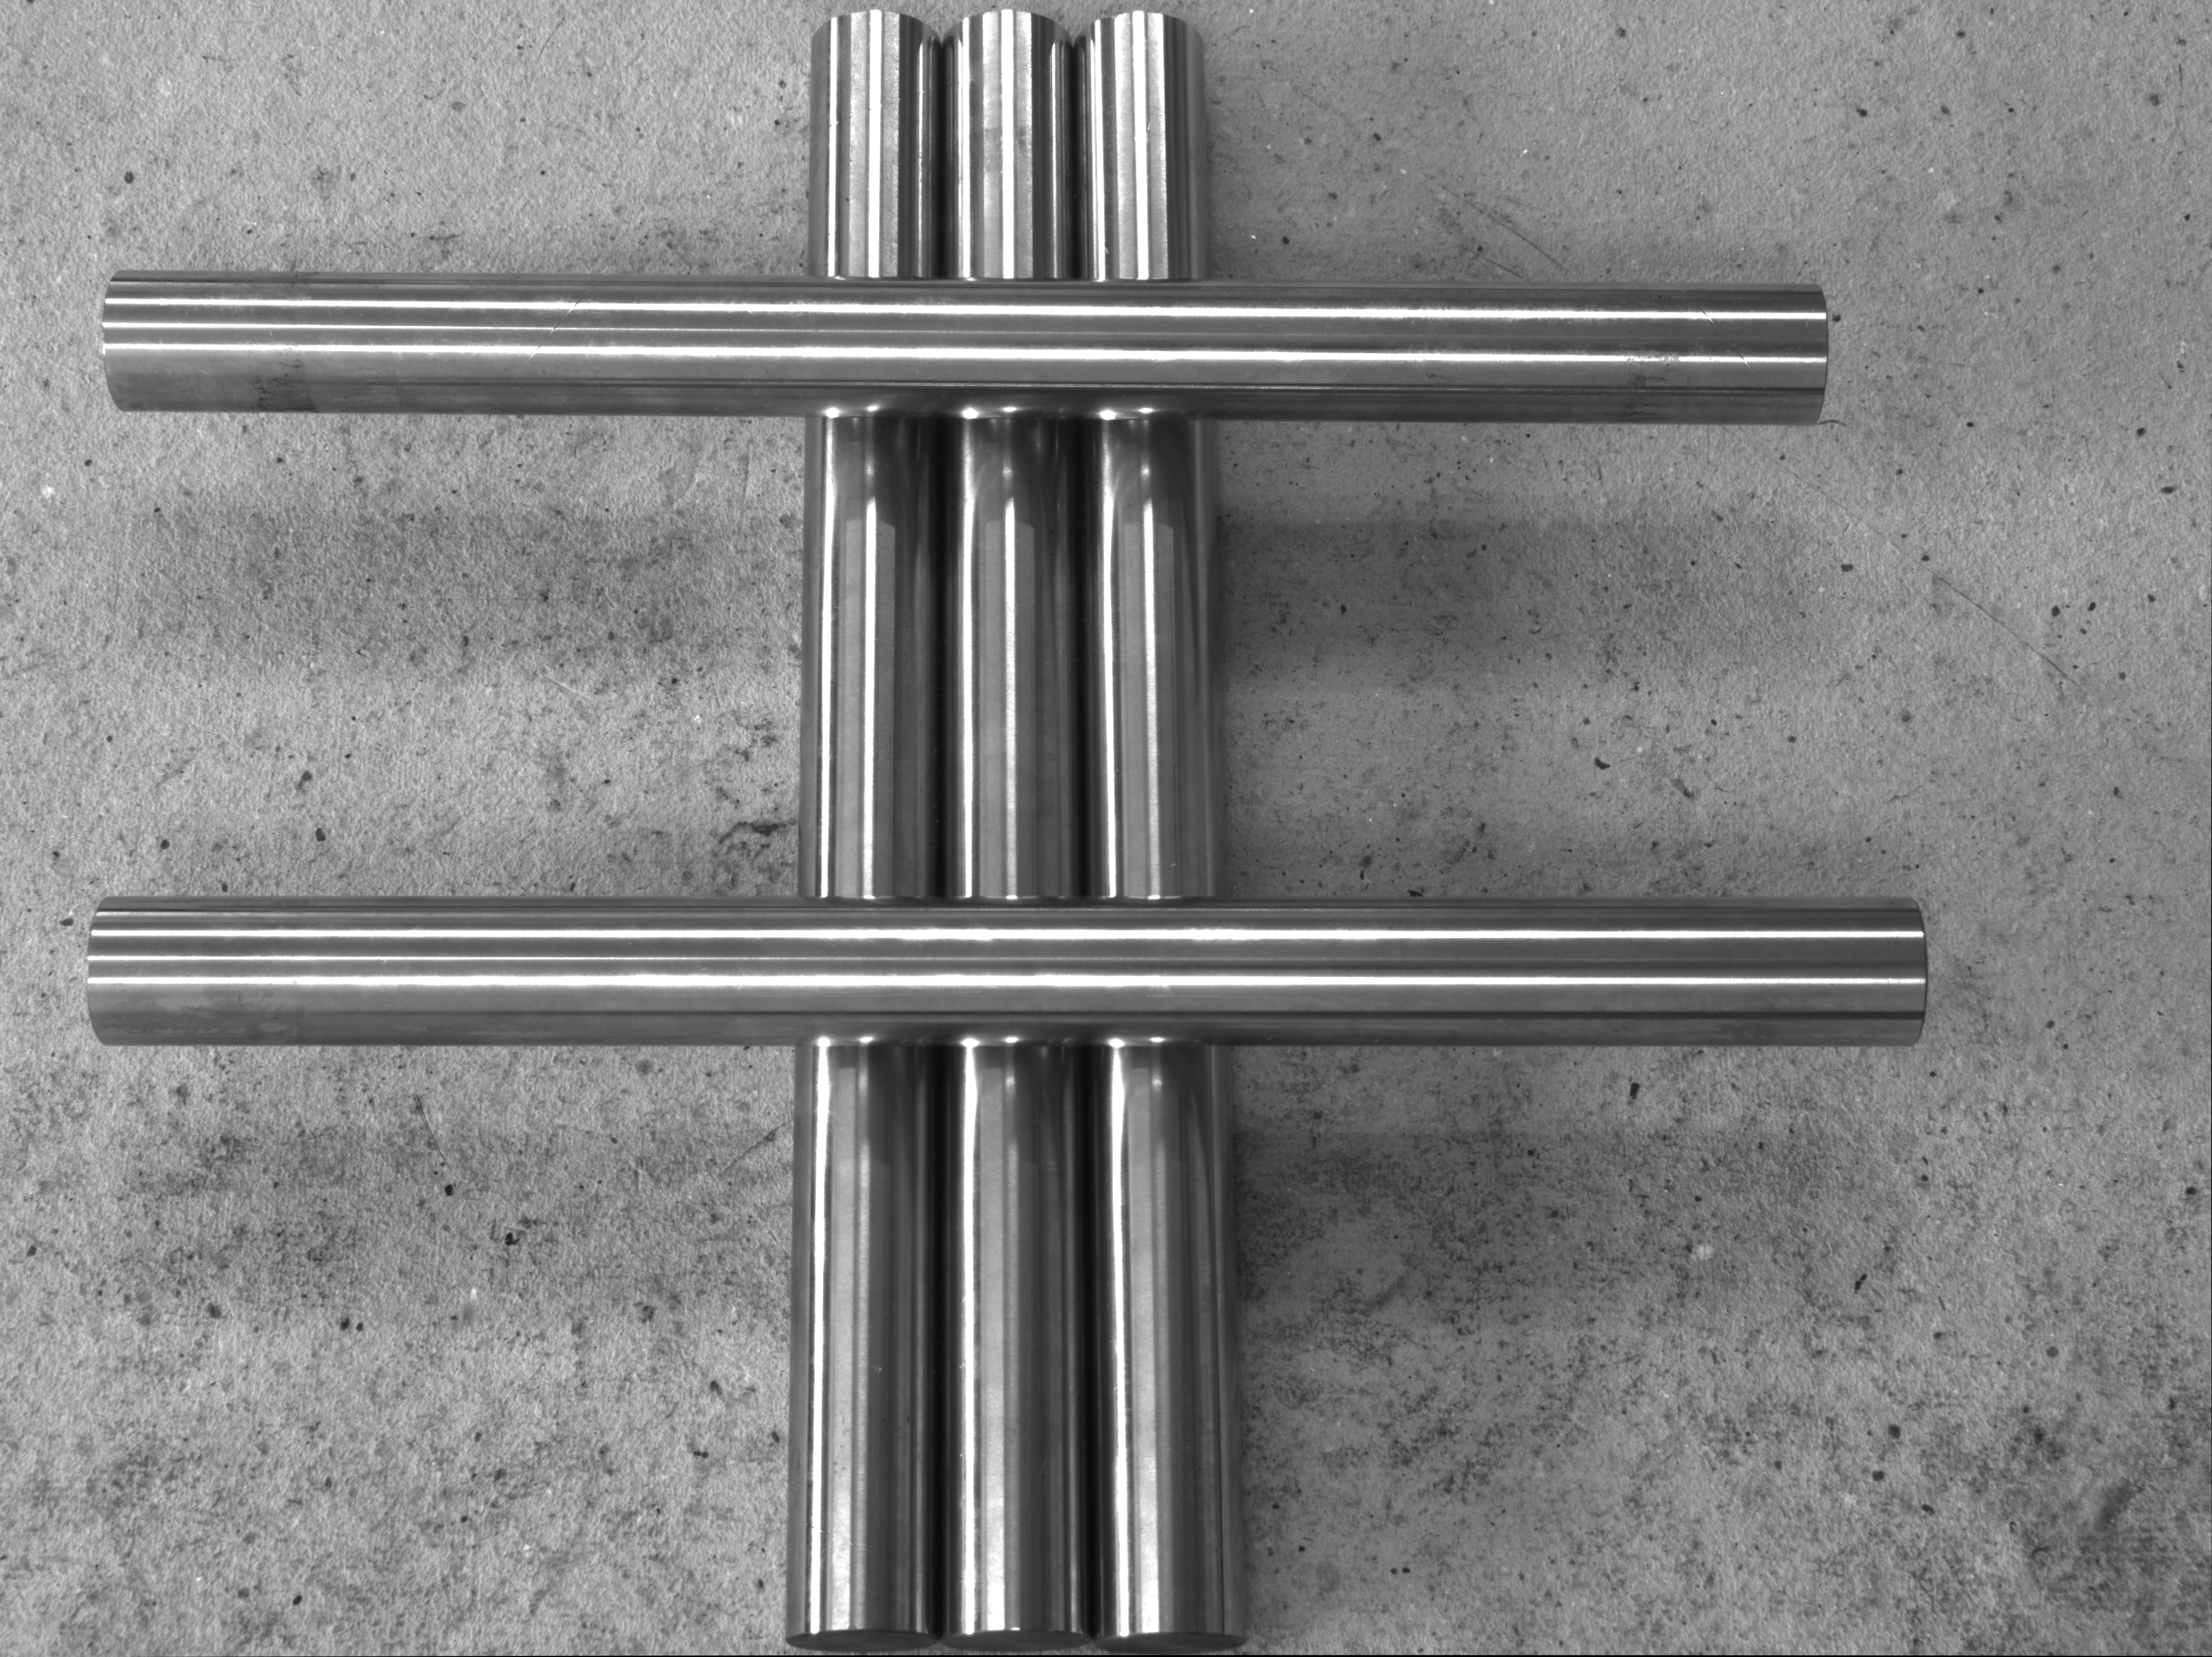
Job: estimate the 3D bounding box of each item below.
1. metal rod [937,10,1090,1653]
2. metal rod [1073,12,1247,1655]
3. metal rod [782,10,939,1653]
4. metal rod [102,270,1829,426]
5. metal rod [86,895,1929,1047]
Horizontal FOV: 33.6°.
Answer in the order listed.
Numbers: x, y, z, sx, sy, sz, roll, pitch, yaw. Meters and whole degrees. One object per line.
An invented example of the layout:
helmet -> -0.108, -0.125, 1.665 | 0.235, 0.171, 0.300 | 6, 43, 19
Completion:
metal rod -> -0.017, -0.008, 0.648 | 0.025, 0.025, 0.300 | -1, 70, 0
metal rod -> 0.008, -0.008, 0.648 | 0.025, 0.025, 0.300 | -1, 70, 0
metal rod -> -0.042, -0.008, 0.648 | 0.025, 0.025, 0.300 | -1, 70, 0
metal rod -> -0.024, -0.085, 0.649 | 0.300, 0.025, 0.025 | 0, 70, 0
metal rod -> -0.016, 0.024, 0.609 | 0.300, 0.025, 0.025 | 0, 70, 0
